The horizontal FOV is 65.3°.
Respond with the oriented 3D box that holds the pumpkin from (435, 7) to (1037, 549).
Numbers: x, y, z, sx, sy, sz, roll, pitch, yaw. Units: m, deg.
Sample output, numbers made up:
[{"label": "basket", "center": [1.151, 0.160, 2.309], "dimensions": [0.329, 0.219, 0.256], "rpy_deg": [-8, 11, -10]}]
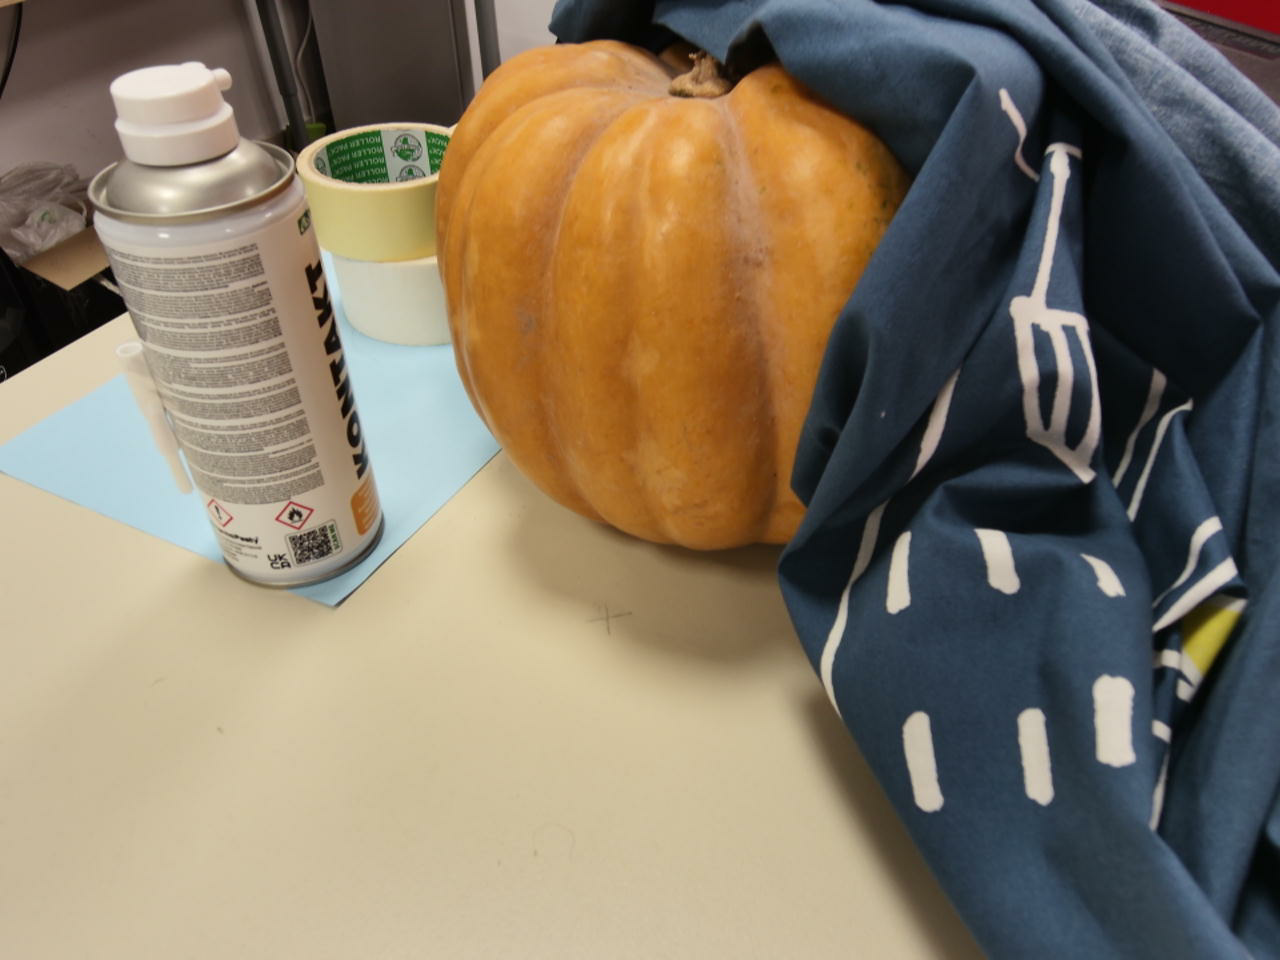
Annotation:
[{"label": "pumpkin", "center": [0.036, -0.078, 0.392], "dimensions": [0.230, 0.194, 0.230], "rpy_deg": [0, 37, 0]}]
